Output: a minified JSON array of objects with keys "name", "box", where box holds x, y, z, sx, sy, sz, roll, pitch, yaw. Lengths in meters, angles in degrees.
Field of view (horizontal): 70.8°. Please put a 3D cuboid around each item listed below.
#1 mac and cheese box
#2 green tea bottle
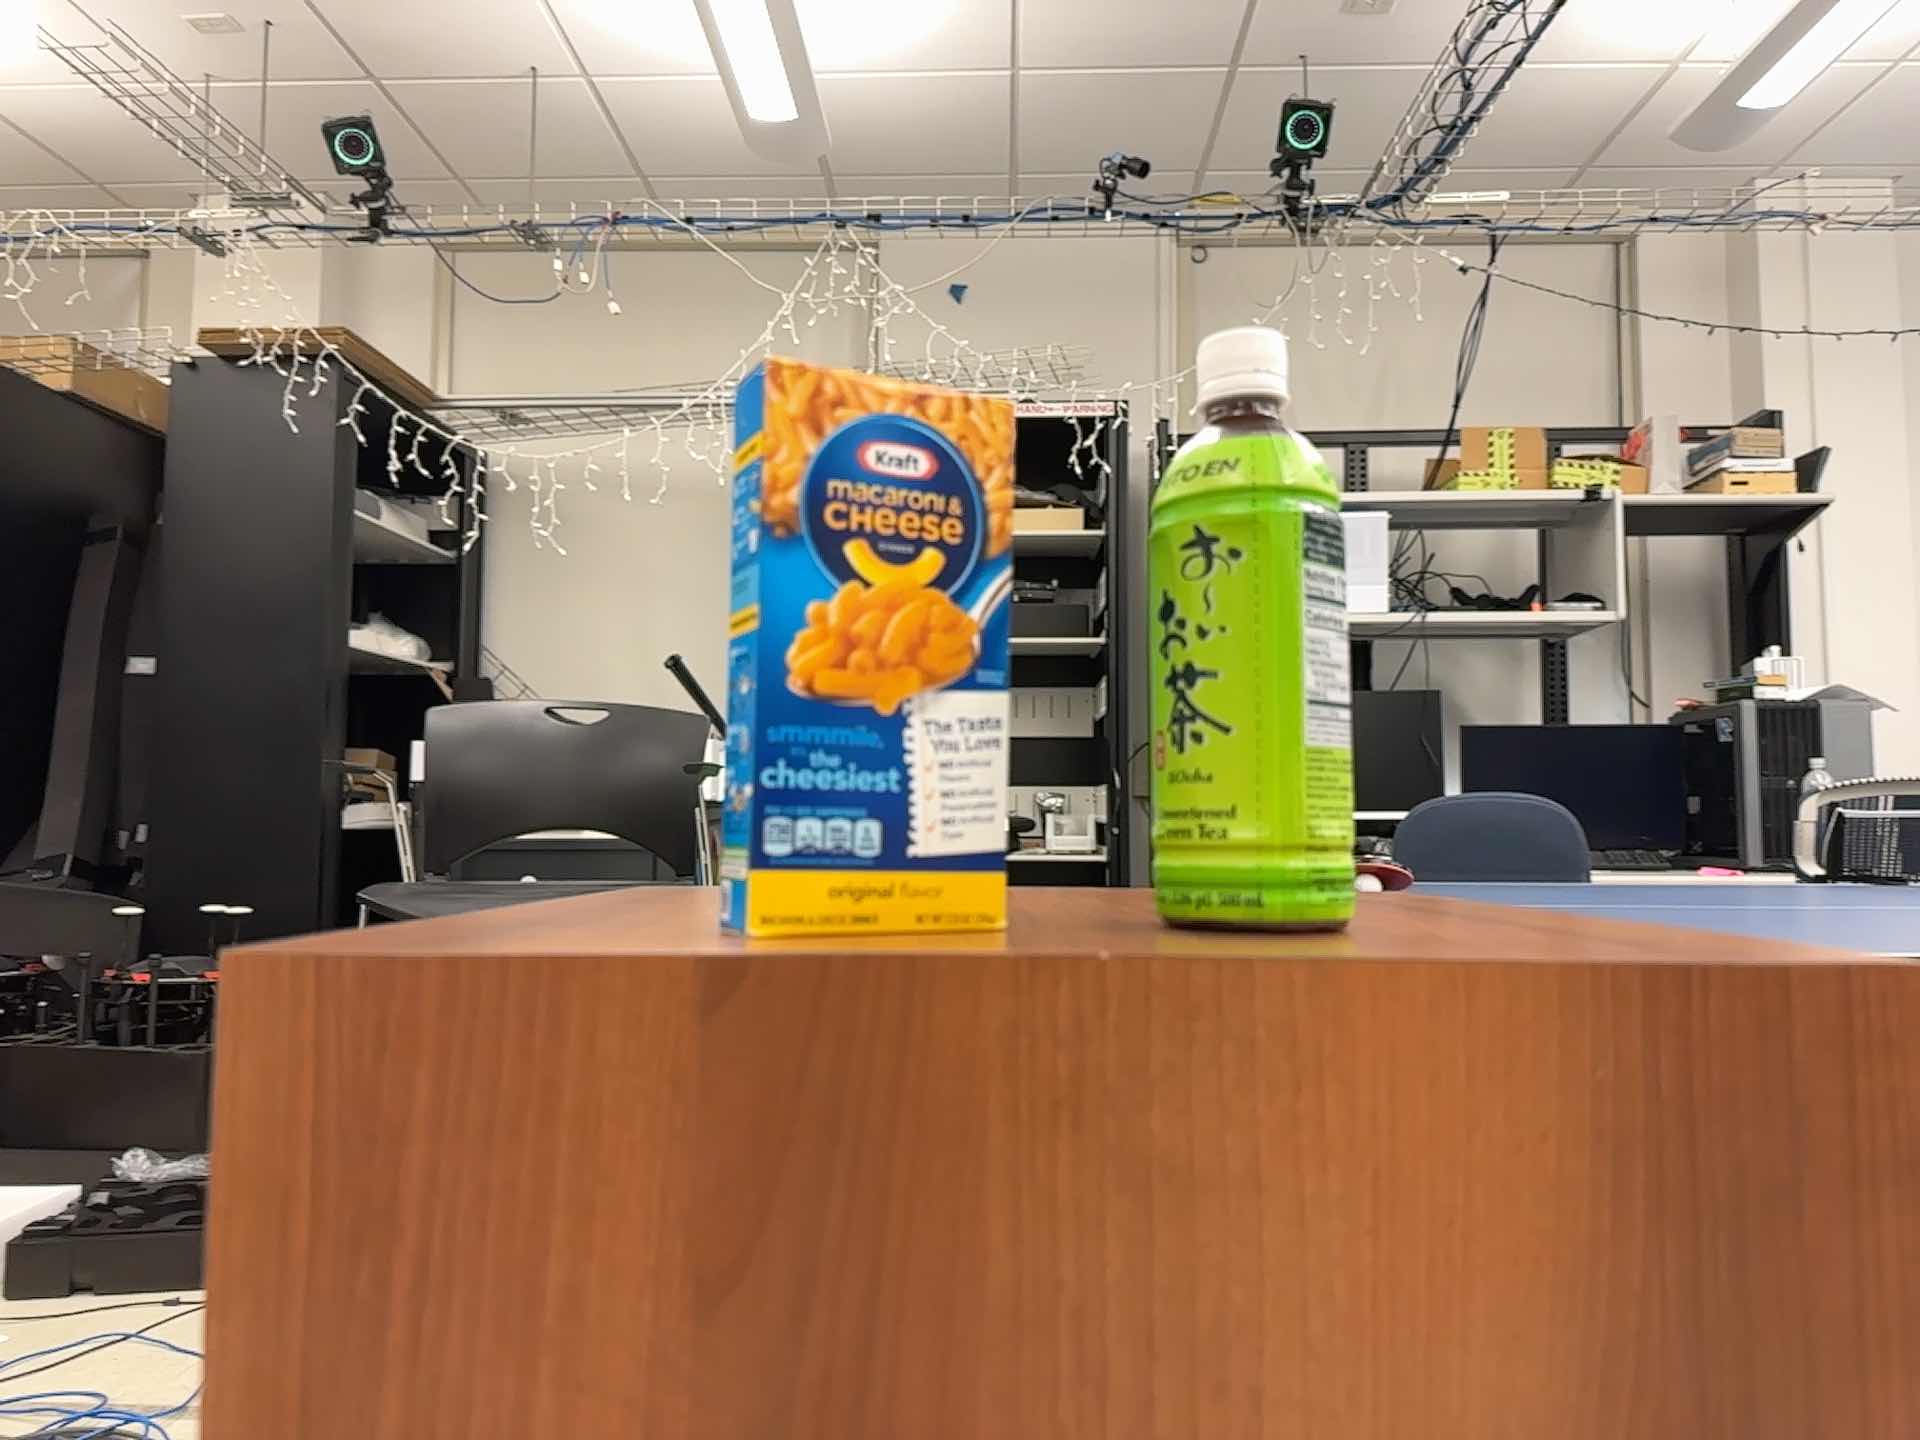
[{"name":"mac and cheese box","box":[-0.030,-0.020,0.456,0.088,0.181,0.035,3,-7,-22]},{"name":"green tea bottle","box":[0.103,-0.032,0.480,0.073,0.212,0.073,3,-8,0]}]
